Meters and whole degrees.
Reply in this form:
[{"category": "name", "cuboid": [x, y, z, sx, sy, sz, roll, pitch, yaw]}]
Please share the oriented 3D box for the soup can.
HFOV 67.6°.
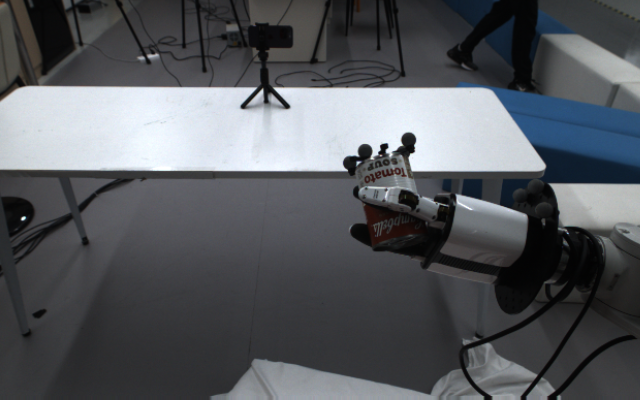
[{"category": "soup can", "cuboid": [0.086, 0.002, 0.574, 0.067, 0.067, 0.101, -8, 74, -14]}]
